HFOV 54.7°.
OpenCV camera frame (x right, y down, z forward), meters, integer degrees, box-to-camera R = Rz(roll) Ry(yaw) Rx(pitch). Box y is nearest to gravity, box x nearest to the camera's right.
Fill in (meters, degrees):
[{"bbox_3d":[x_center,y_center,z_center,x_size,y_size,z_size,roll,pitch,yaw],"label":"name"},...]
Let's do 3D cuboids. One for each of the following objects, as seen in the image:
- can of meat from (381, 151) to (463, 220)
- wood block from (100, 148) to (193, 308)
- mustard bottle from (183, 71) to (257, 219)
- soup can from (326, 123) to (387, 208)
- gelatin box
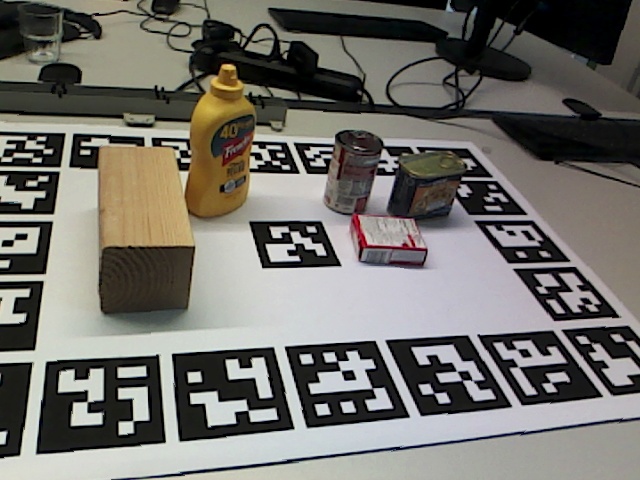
[{"bbox_3d":[0.145,-0.077,0.897,0.101,0.083,0.058,-9,40,-31],"label":"can of meat"},{"bbox_3d":[-0.201,-0.021,0.708,0.090,0.090,0.207,1,32,-18],"label":"wood block"},{"bbox_3d":[-0.127,-0.123,0.792,0.096,0.191,0.059,-19,45,-39],"label":"mustard bottle"},{"bbox_3d":[0.050,-0.104,0.874,0.068,0.102,0.068,8,37,-6],"label":"soup can"},{"bbox_3d":[0.093,-0.002,0.814,0.089,0.030,0.073,4,38,-8],"label":"gelatin box"}]
